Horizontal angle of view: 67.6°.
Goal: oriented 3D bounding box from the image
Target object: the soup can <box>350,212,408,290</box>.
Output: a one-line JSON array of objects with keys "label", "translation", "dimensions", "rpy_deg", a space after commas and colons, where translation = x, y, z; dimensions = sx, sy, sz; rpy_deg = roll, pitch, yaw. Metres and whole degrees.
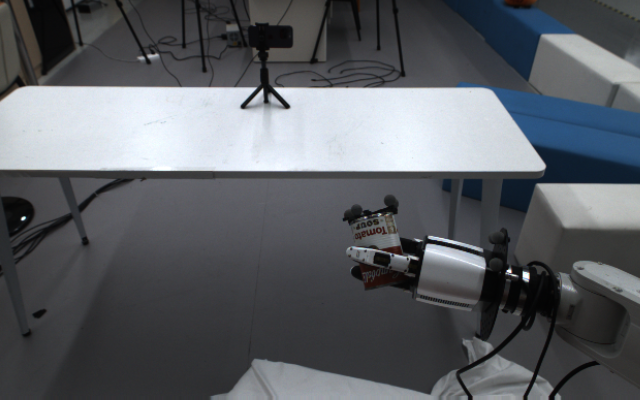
[{"label": "soup can", "translation": [0.089, 0.075, 0.708], "dimensions": [0.067, 0.067, 0.101], "rpy_deg": [-10, 80, -16]}]
